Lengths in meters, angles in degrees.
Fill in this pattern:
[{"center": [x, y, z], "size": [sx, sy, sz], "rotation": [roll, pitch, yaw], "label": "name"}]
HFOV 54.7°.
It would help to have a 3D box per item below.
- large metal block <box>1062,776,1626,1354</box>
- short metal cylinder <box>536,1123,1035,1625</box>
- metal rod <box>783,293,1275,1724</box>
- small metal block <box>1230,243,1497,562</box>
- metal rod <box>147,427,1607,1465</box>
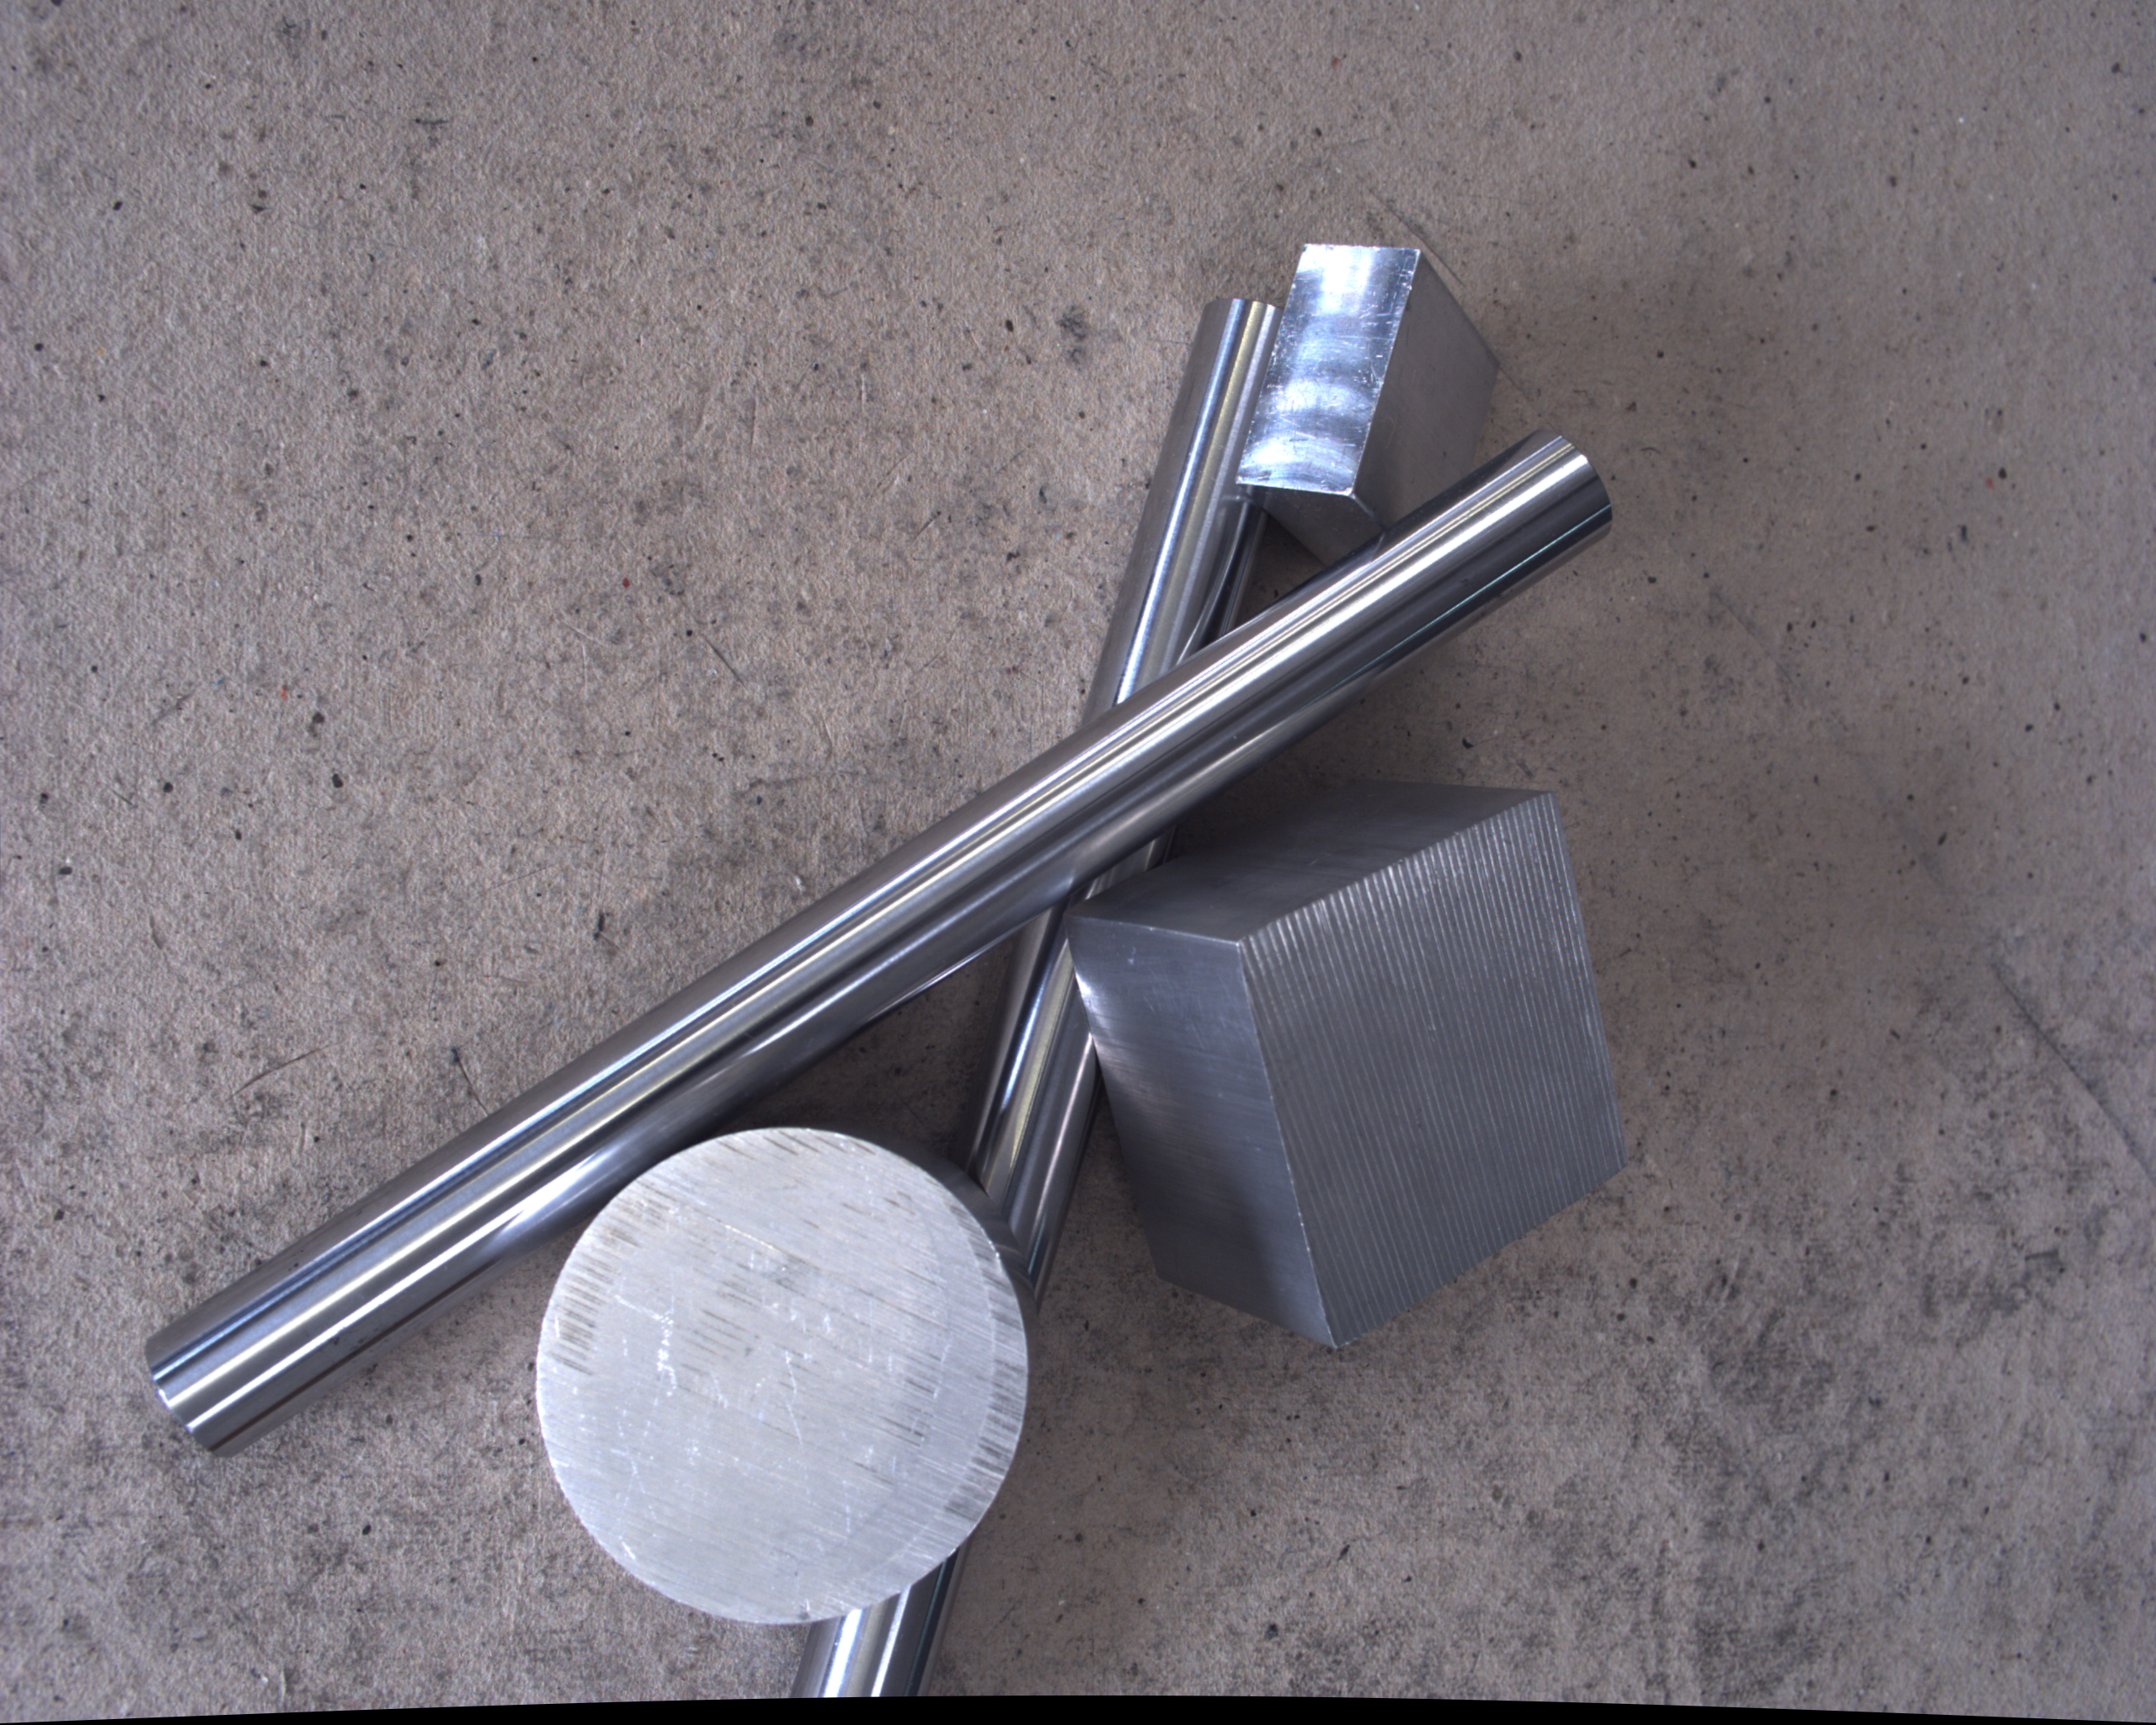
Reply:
[{"center": [0.053, 0.034, 0.401], "size": [0.081, 0.050, 0.080], "rotation": [-23, 107, -31], "label": "large metal block"}, {"center": [-0.048, 0.086, 0.366], "size": [0.080, 0.050, 0.080], "rotation": [0, 84, 0], "label": "short metal cylinder"}, {"center": [-0.004, 0.033, 0.408], "size": [0.025, 0.025, 0.299], "rotation": [18, 84, -19], "label": "metal rod"}, {"center": [0.058, -0.089, 0.419], "size": [0.050, 0.025, 0.050], "rotation": [25, 79, -59], "label": "small metal block"}, {"center": [-0.028, 0.009, 0.382], "size": [0.301, 0.025, 0.025], "rotation": [-34, 102, -10], "label": "metal rod"}]
